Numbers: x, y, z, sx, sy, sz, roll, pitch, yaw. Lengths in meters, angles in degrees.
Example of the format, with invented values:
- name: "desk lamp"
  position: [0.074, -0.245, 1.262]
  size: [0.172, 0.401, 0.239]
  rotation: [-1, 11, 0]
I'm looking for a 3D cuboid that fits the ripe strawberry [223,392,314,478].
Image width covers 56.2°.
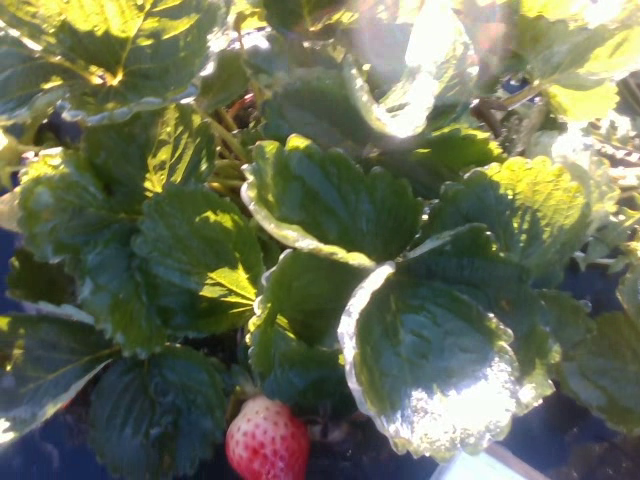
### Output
- name: "ripe strawberry"
  position: [-0.028, 0.109, 0.281]
  size: [0.040, 0.065, 0.040]
  rotation: [-19, -4, 10]
